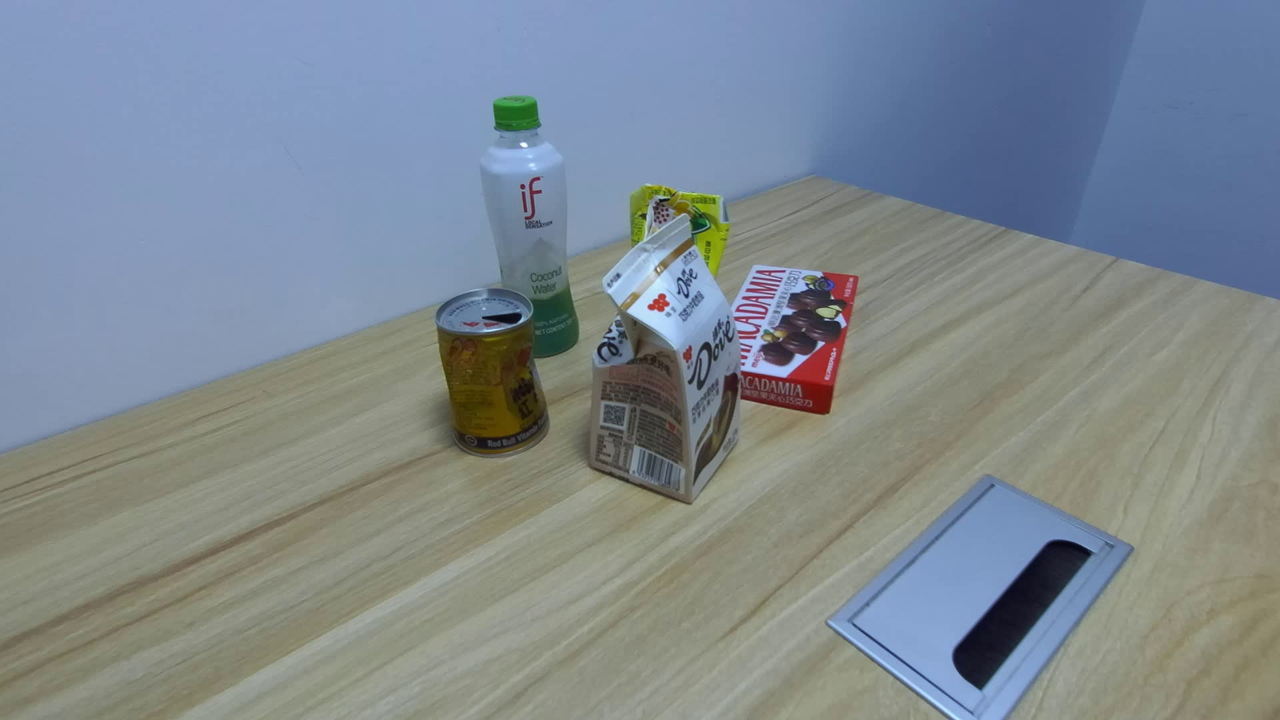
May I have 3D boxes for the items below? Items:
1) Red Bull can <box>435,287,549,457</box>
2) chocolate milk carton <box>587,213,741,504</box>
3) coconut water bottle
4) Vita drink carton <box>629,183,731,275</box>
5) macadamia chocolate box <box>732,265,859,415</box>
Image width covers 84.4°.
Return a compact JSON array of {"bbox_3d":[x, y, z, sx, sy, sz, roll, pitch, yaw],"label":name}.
[{"bbox_3d":[-0.095,0.008,0.459,0.072,0.092,0.072,-1,31,1],"label":"Red Bull can"},{"bbox_3d":[0.014,-0.006,0.413,0.073,0.156,0.076,14,35,26],"label":"chocolate milk carton"},{"bbox_3d":[-0.083,-0.097,0.533,0.063,0.189,0.063,-2,30,1],"label":"coconut water bottle"},{"bbox_3d":[0.031,-0.093,0.602,0.087,0.108,0.042,7,18,8],"label":"Vita drink carton"},{"bbox_3d":[0.116,-0.024,0.559,0.095,0.027,0.178,9,34,18],"label":"macadamia chocolate box"}]
